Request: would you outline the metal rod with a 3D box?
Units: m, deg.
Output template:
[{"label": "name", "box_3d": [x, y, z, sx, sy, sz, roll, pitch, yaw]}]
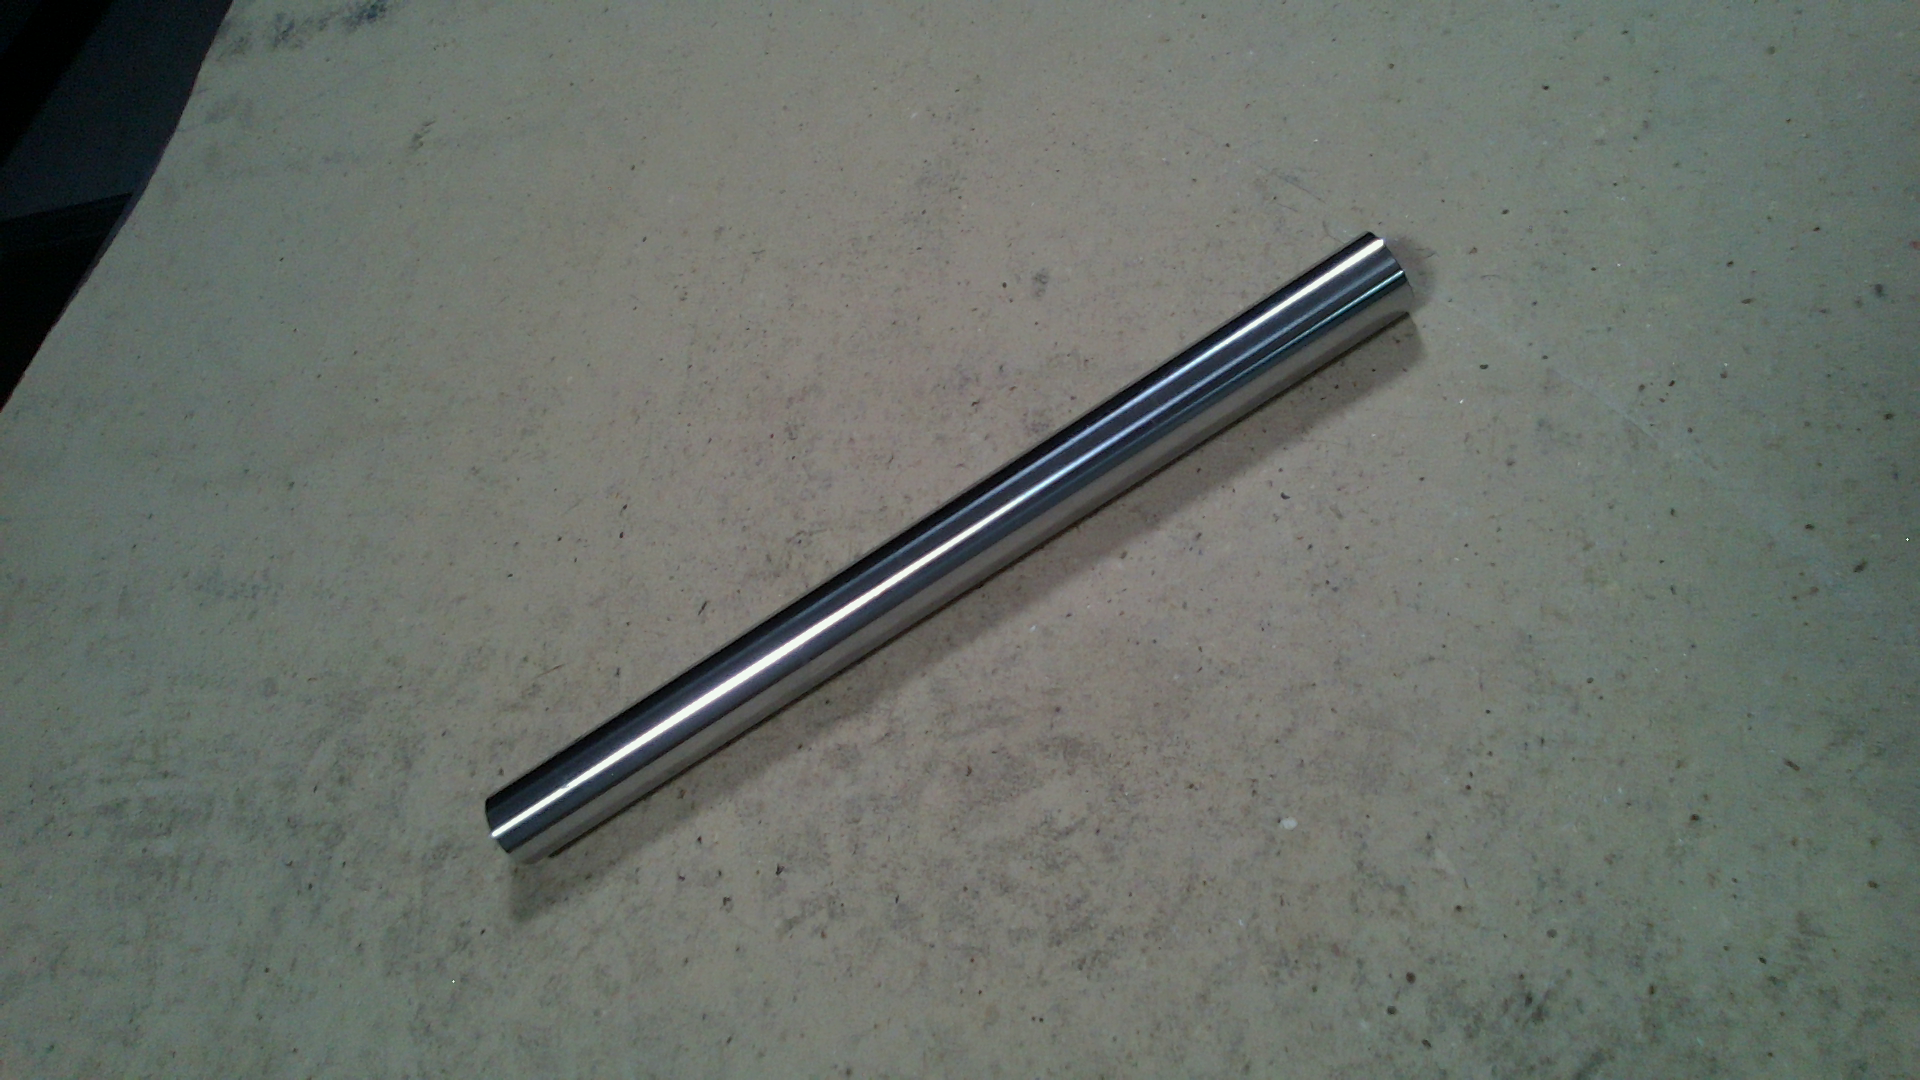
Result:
[{"label": "metal rod", "box_3d": [-0.008, 0.006, 0.395, 0.300, 0.025, 0.025, -33, 51, 7]}]
